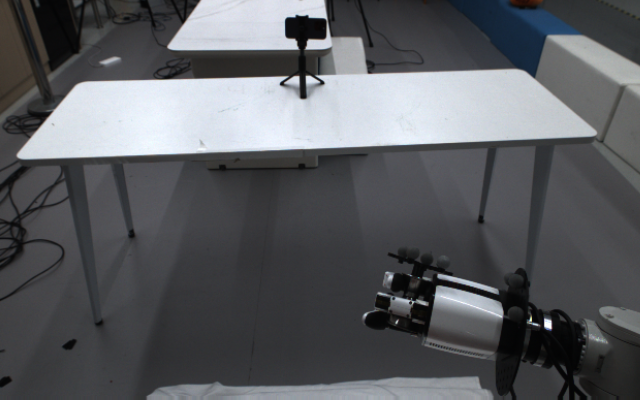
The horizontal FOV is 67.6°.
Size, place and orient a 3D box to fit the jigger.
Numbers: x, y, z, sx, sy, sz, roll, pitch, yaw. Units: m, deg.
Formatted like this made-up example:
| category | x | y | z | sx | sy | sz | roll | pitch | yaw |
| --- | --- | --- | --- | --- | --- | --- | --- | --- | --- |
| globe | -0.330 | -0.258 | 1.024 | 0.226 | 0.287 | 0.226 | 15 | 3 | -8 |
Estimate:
| category | x | y | z | sx | sy | sz | roll | pitch | yaw |
| --- | --- | --- | --- | --- | --- | --- | --- | --- | --- |
| jigger | 0.119 | 0.133 | 0.636 | 0.043 | 0.071 | 0.043 | 19 | -6 | 2 |
